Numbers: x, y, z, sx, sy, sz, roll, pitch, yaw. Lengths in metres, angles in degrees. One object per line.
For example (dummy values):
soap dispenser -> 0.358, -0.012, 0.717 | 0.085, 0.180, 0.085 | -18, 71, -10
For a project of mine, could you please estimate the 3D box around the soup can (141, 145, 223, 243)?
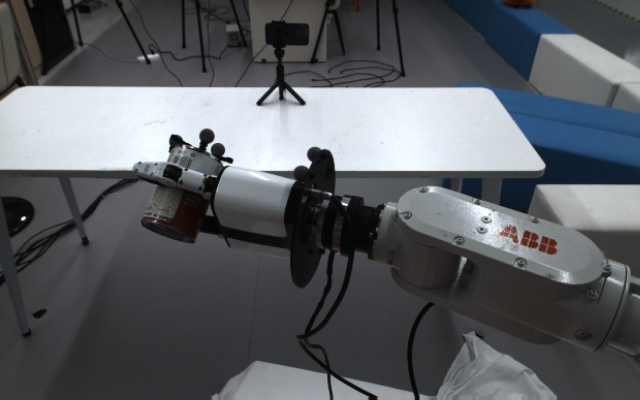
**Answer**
soup can -> -0.163, -0.007, 0.583 | 0.067, 0.067, 0.101 | 12, 70, 13
